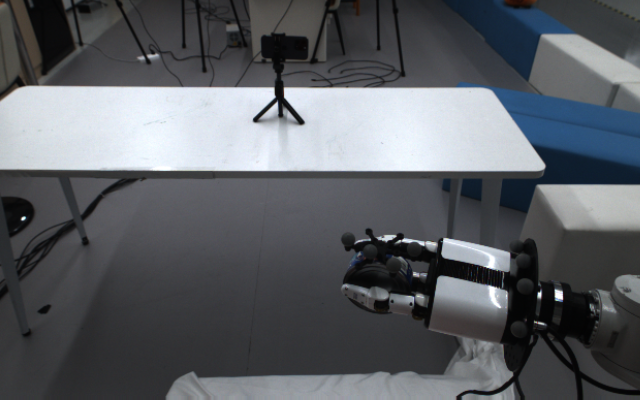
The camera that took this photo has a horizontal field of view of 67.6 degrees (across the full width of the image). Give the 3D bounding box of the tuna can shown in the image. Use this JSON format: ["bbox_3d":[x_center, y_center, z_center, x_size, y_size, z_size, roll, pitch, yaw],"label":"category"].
[{"bbox_3d":[0.077,0.100,0.613,0.085,0.085,0.034,10,34,11],"label":"tuna can"}]
